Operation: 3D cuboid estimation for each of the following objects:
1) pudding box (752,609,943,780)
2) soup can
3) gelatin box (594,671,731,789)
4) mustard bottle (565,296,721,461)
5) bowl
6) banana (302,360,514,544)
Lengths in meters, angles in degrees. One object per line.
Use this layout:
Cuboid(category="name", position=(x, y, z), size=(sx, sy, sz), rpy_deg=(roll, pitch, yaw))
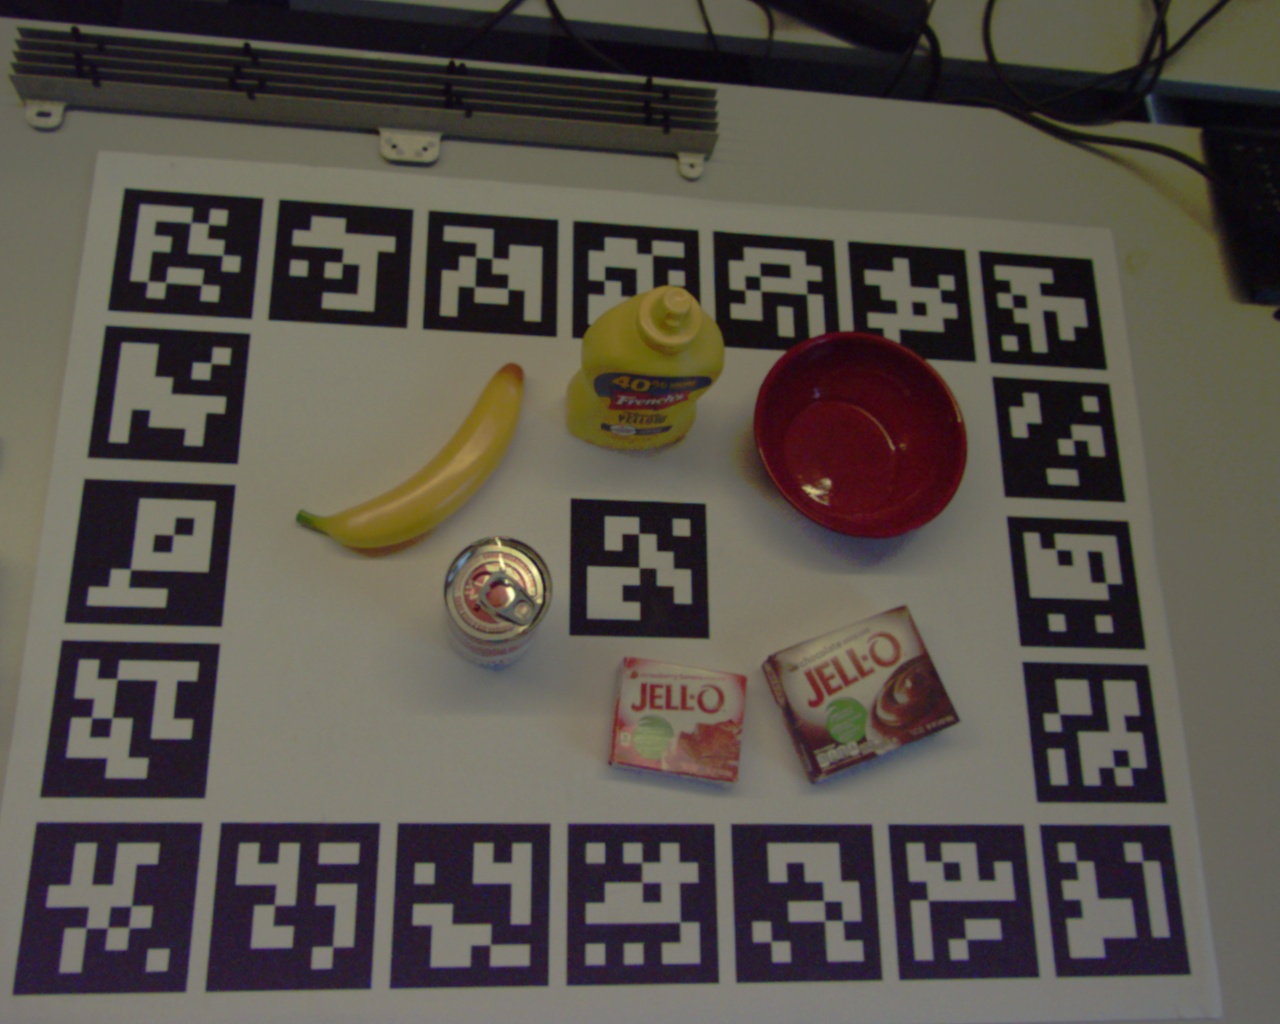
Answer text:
Cuboid(category="pudding box", position=(0.151, 0.134, 0.839), size=(0.113, 0.039, 0.090), rpy_deg=(-21, 83, -14))
Cuboid(category="soup can", position=(-0.107, 0.059, 0.781), size=(0.067, 0.102, 0.068), rpy_deg=(3, 71, -11))
Cuboid(category="gelatin box", position=(0.016, 0.156, 0.817), size=(0.089, 0.030, 0.073), rpy_deg=(9, 75, -5))
Cuboid(category="mustard bottle", position=(0.005, -0.096, 0.796), size=(0.096, 0.192, 0.058), rpy_deg=(3, 70, -9))
Cuboid(category="bowl", position=(0.159, -0.048, 0.891), size=(0.161, 0.055, 0.162), rpy_deg=(2, 72, -7))
Cuboid(category="banana", position=(-0.155, -0.038, 0.847), size=(0.075, 0.039, 0.196), rpy_deg=(40, 71, 15))
